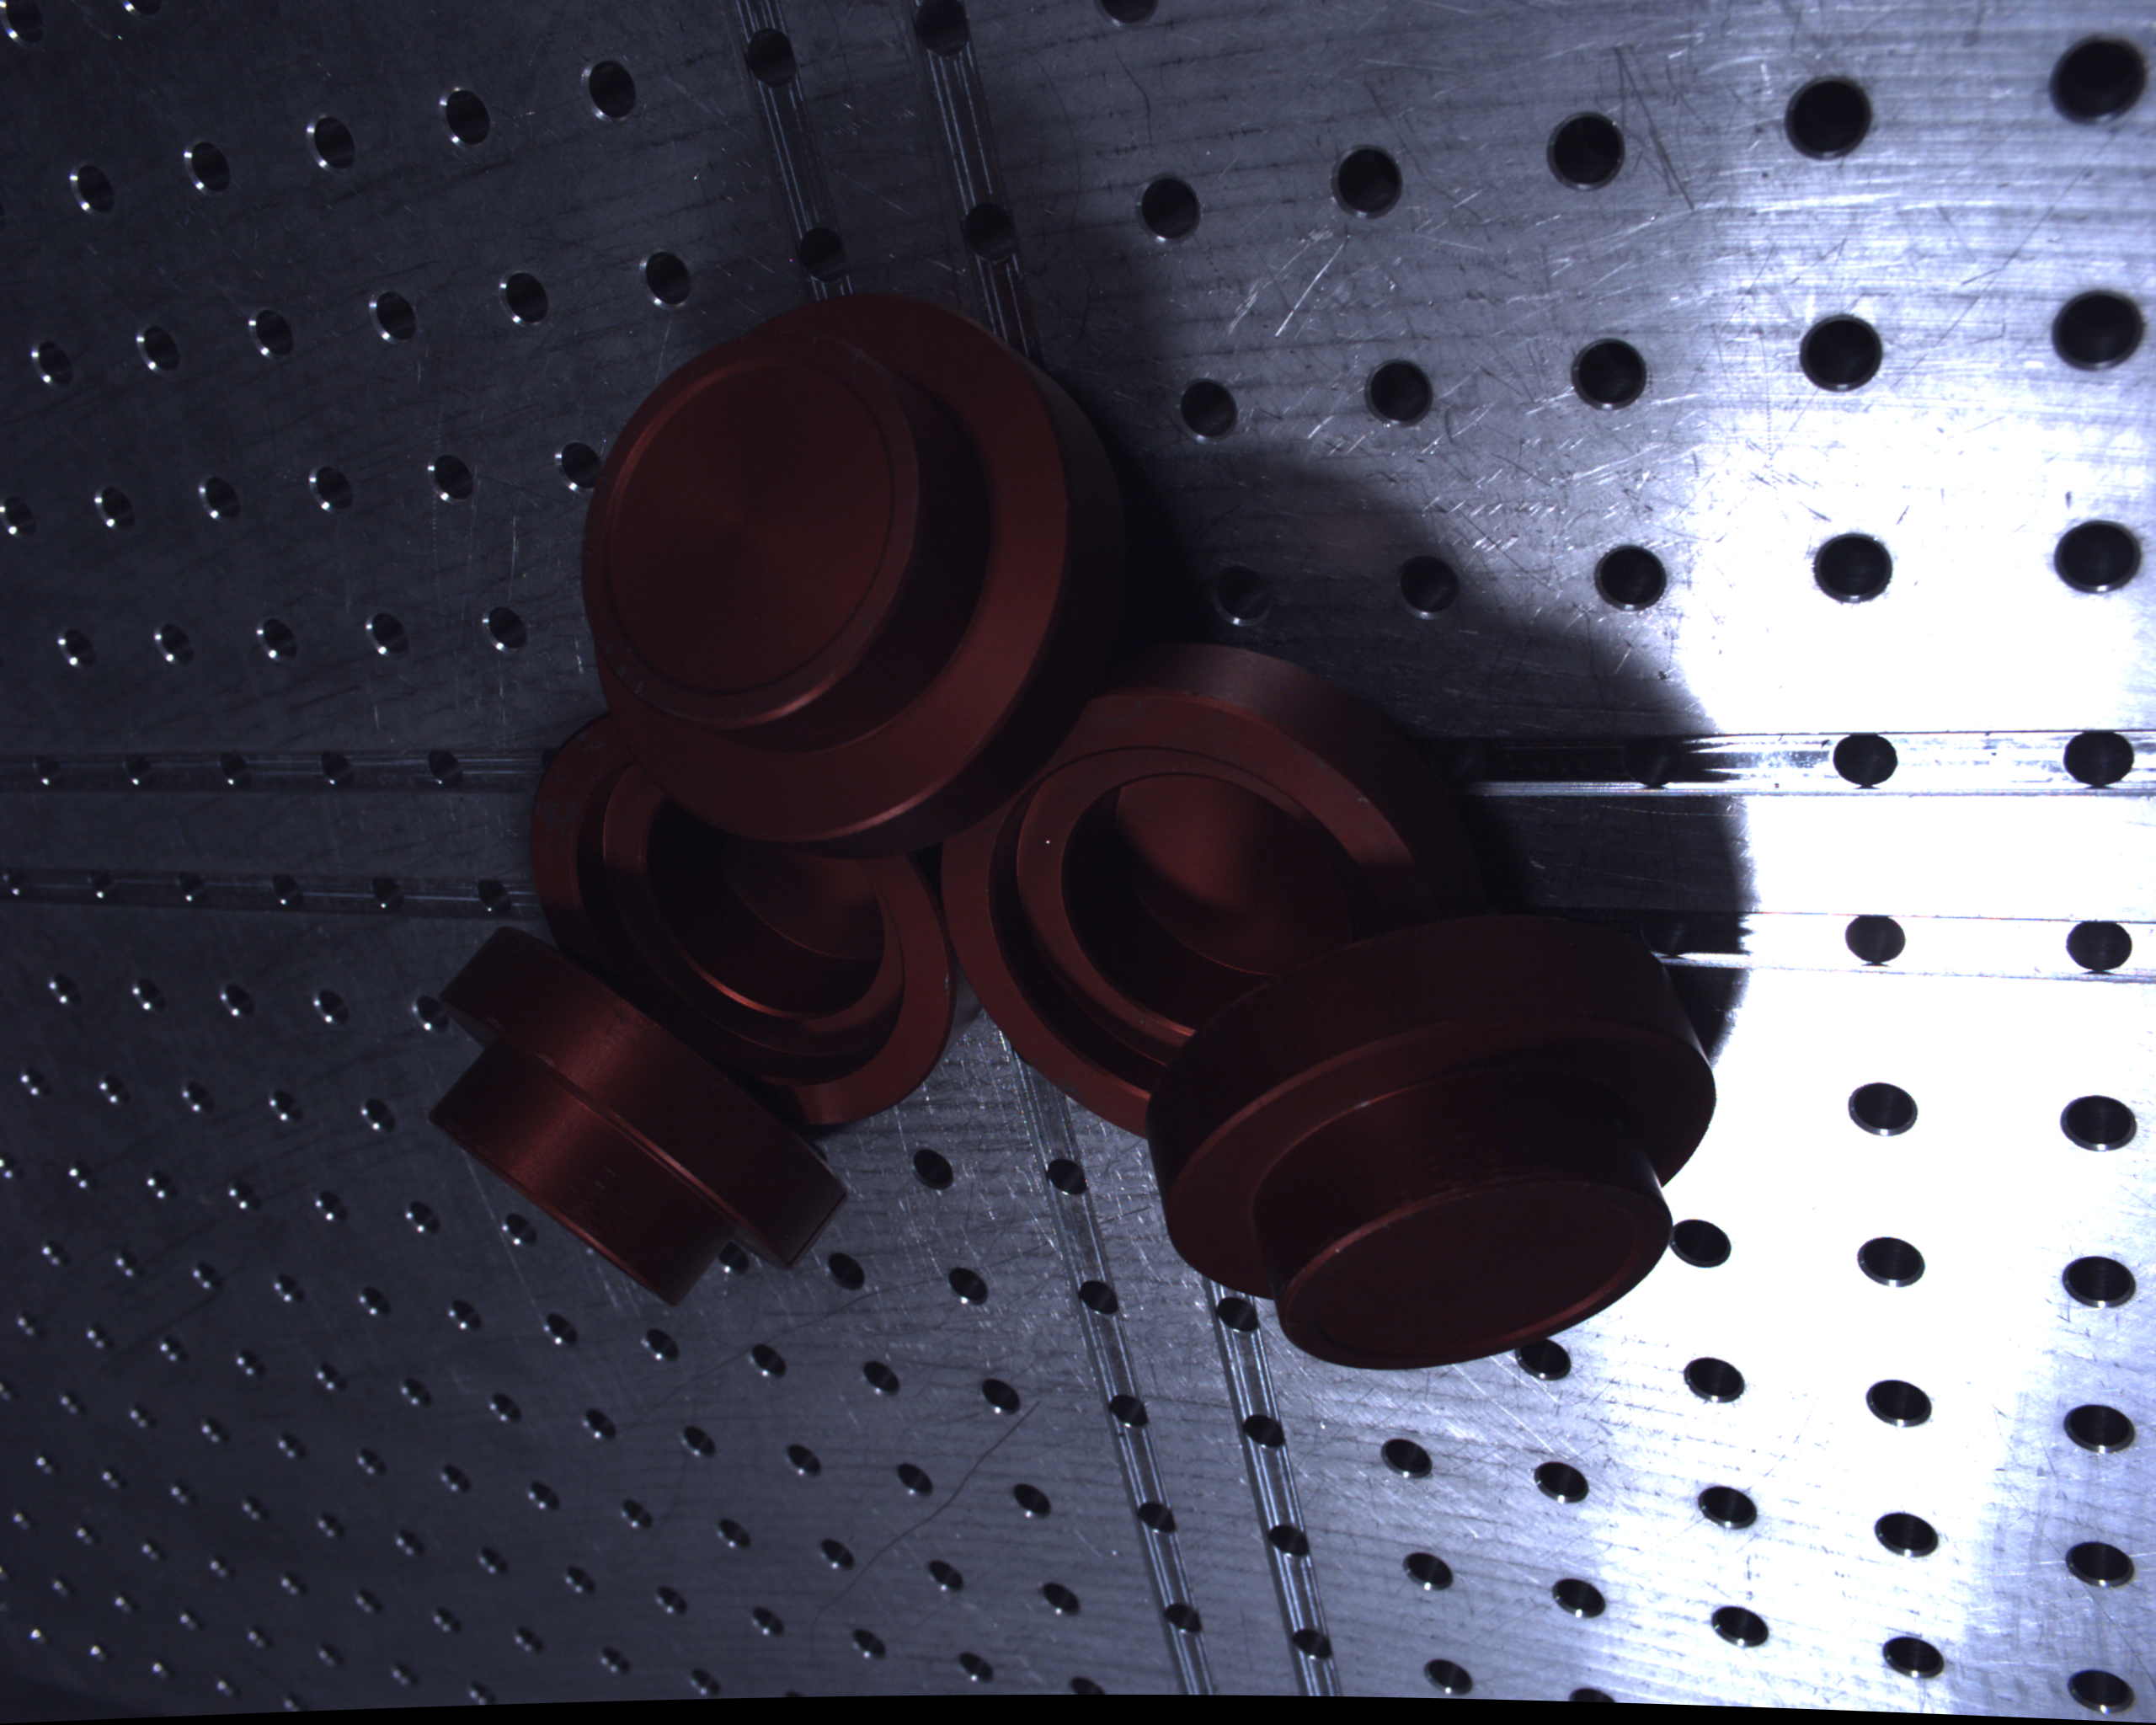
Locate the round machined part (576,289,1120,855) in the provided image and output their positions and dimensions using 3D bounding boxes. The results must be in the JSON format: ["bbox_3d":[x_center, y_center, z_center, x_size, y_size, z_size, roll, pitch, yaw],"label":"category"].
[{"bbox_3d":[-0.046,-0.052,0.357,0.098,0.042,0.098,-5,78,26],"label":"round machined part"}]

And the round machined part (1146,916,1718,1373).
[{"bbox_3d":[0.064,0.055,0.365,0.099,0.042,0.097,-7,142,-5],"label":"round machined part"}]

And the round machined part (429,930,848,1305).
[{"bbox_3d":[-0.102,0.061,0.460,0.098,0.042,0.098,34,163,12],"label":"round machined part"}]

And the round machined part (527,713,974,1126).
[{"bbox_3d":[-0.061,0.003,0.431,0.098,0.042,0.097,13,124,20],"label":"round machined part"}]

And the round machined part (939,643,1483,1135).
[{"bbox_3d":[0.027,0.004,0.387,0.098,0.042,0.097,13,124,20],"label":"round machined part"}]
